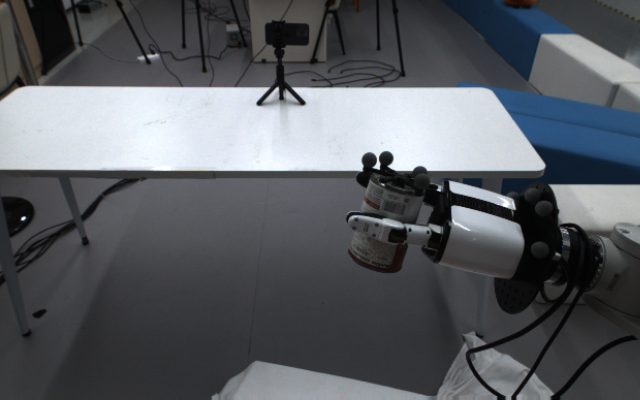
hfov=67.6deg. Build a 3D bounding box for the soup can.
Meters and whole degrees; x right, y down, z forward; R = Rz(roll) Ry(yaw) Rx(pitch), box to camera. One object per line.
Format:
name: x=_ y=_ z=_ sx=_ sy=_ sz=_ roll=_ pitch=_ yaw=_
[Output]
soup can: x=0.080 y=0.025 z=0.573 sx=0.067 sy=0.101 sz=0.067 roll=13 pitch=18 yaw=-4
